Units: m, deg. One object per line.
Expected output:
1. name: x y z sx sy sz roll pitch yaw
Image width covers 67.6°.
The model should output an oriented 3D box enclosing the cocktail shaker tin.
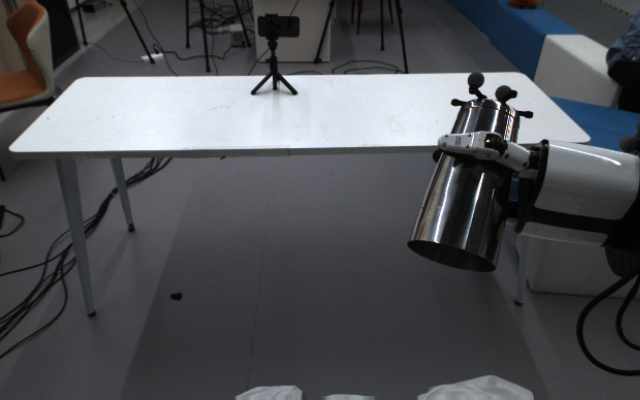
1. cocktail shaker tin: 0.164 -0.018 0.519 0.093 0.093 0.170 15 74 18
